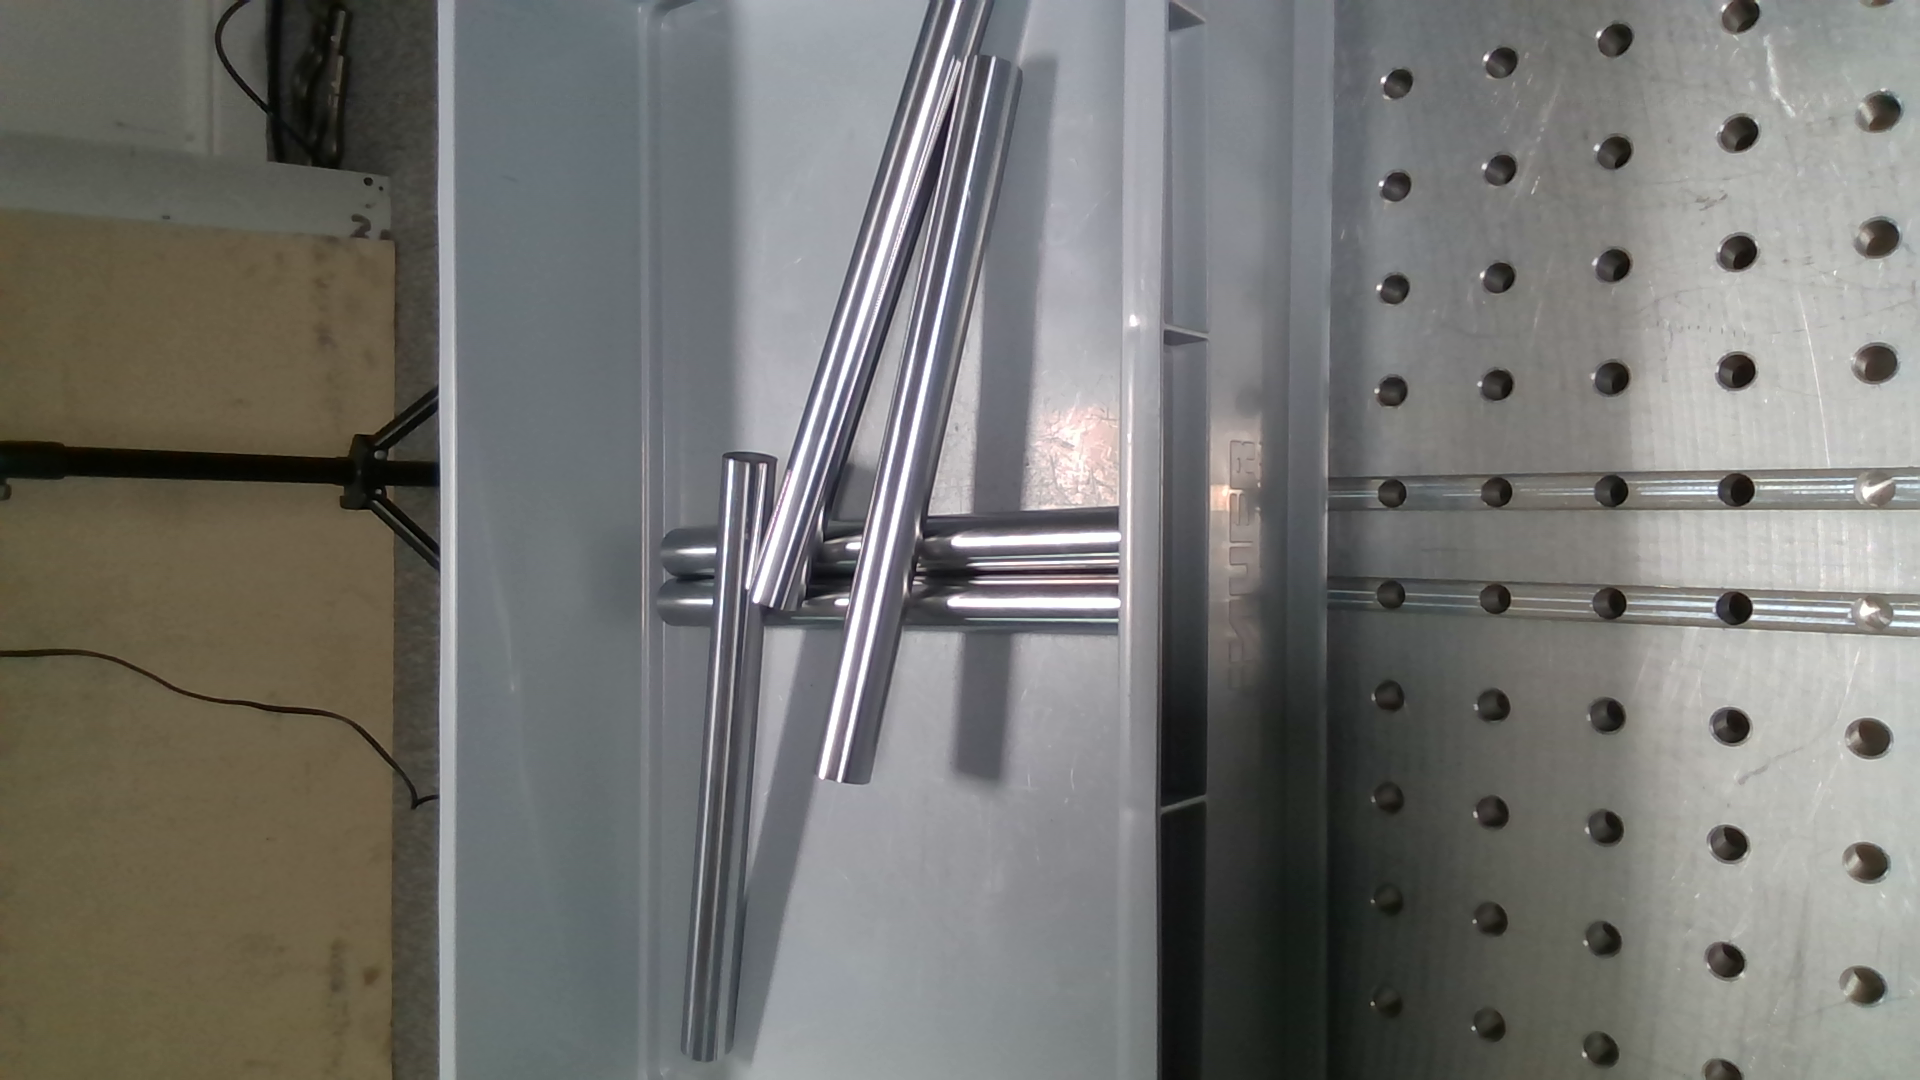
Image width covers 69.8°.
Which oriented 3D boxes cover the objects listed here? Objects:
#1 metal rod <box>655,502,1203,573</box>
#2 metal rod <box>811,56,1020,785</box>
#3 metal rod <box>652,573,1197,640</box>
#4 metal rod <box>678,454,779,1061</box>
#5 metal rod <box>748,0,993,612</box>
[{"bbox_3d":[-0.031,0.002,0.605,0.300,0.025,0.025,-2,89,40],"label":"metal rod"},{"bbox_3d":[-0.019,-0.048,0.570,0.025,0.025,0.300,13,92,39],"label":"metal rod"},{"bbox_3d":[-0.033,0.028,0.607,0.300,0.025,0.025,-2,89,40],"label":"metal rod"},{"bbox_3d":[-0.111,0.108,0.653,0.025,0.025,0.300,18,107,39],"label":"metal rod"},{"bbox_3d":[-0.037,-0.113,0.594,0.025,0.025,0.300,25,101,37],"label":"metal rod"}]
